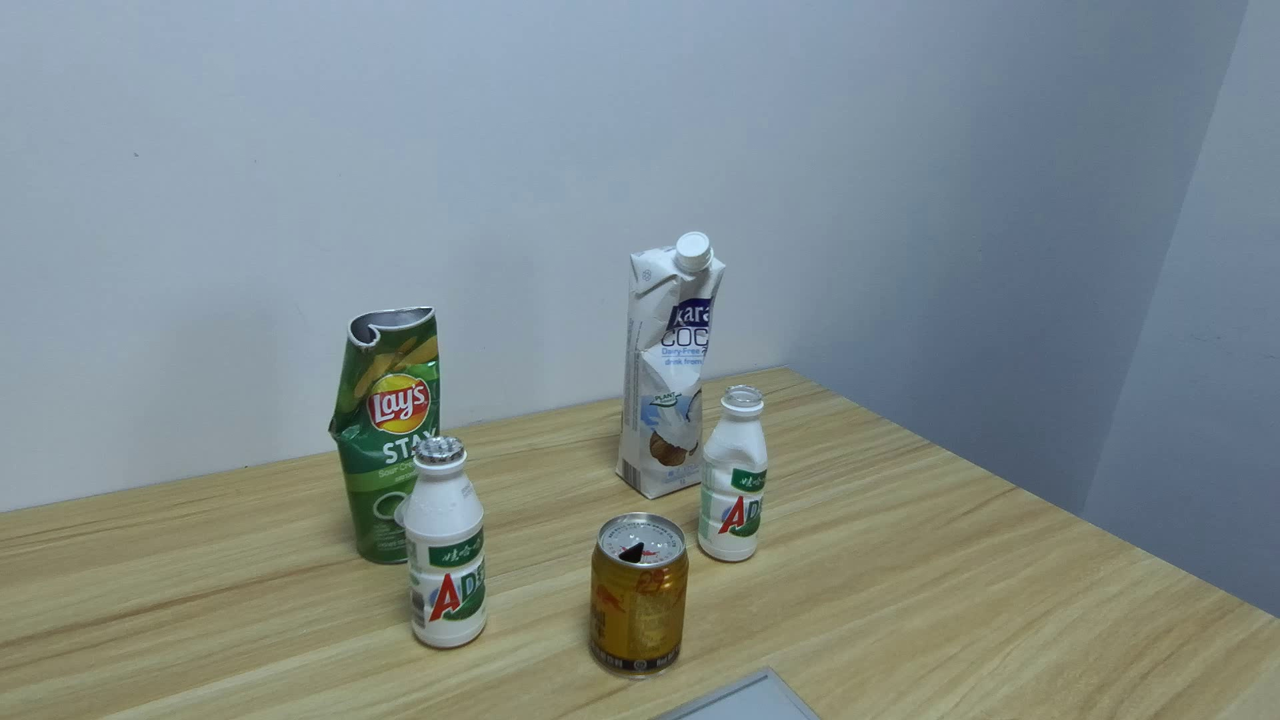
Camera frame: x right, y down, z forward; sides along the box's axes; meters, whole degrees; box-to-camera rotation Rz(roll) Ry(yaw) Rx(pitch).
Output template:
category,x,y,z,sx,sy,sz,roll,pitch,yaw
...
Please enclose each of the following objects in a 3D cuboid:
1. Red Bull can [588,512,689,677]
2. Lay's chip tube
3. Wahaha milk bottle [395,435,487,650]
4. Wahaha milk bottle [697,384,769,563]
category,x,y,z,sx,sy,sz,roll,pitch,yaw
Red Bull can,0.000,0.161,0.487,0.067,0.093,0.067,4,22,-1
Lay's chip tube,-0.200,0.061,0.569,0.069,0.201,0.077,2,24,-4
Wahaha milk bottle,-0.134,0.126,0.487,0.053,0.147,0.053,2,21,0
Wahaha milk bottle,0.079,0.095,0.586,0.055,0.149,0.055,3,24,-1
